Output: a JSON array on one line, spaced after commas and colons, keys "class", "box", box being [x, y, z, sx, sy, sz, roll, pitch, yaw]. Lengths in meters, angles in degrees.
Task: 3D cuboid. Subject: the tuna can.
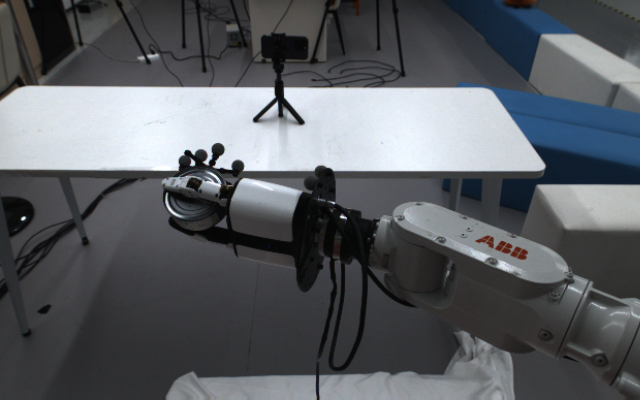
[{"class": "tuna can", "box": [-0.164, -0.003, 0.651, 0.085, 0.034, 0.085, -3, 57, 4]}]
